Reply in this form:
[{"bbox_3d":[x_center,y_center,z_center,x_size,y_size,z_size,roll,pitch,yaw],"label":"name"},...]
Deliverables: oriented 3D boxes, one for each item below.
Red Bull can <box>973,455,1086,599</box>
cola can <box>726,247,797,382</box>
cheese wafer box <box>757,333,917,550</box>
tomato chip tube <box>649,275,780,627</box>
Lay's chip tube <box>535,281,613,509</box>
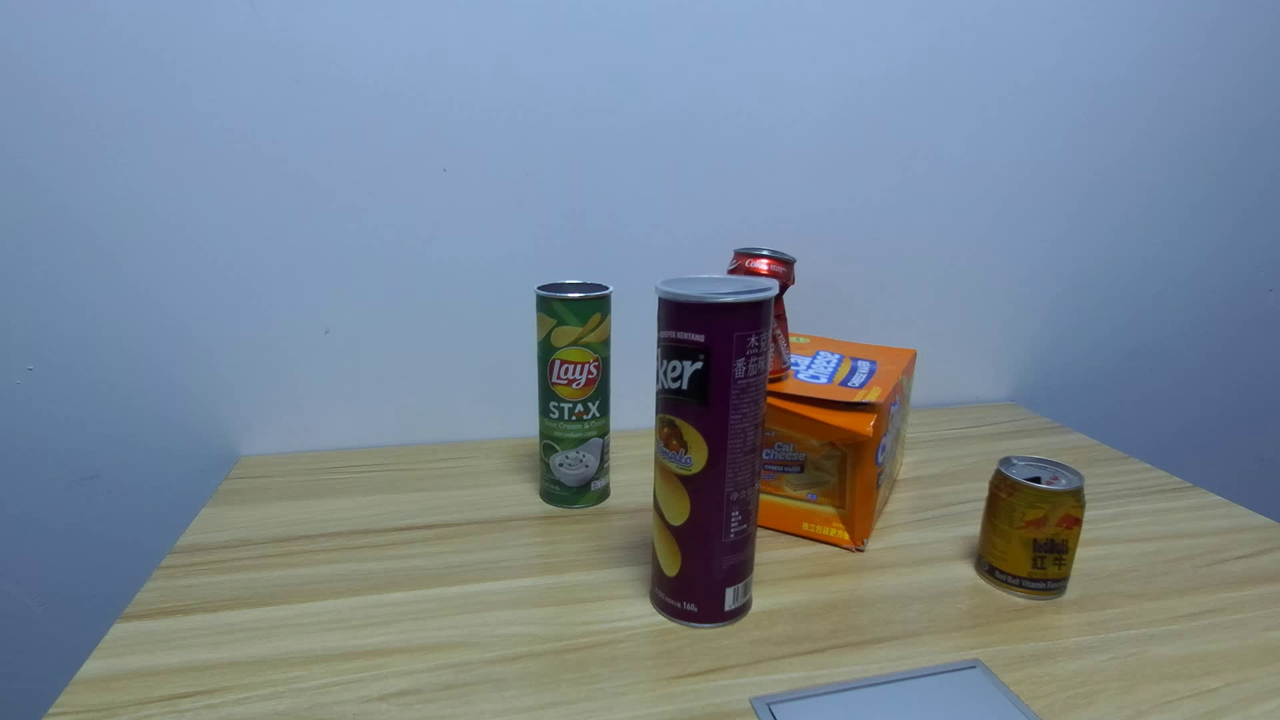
[{"bbox_3d":[0.303,0.129,0.549,0.069,0.092,0.069,2,15,0],"label":"Red Bull can"},{"bbox_3d":[0.104,-0.042,0.624,0.069,0.112,0.065,-11,20,-42],"label":"cola can"},{"bbox_3d":[0.172,0.063,0.686,0.149,0.137,0.228,10,18,26],"label":"cheese wafer box"},{"bbox_3d":[0.048,0.063,0.490,0.078,0.234,0.078,1,17,0],"label":"tomato chip tube"},{"bbox_3d":[-0.060,0.031,0.658,0.071,0.202,0.071,1,16,0],"label":"Lay's chip tube"}]
